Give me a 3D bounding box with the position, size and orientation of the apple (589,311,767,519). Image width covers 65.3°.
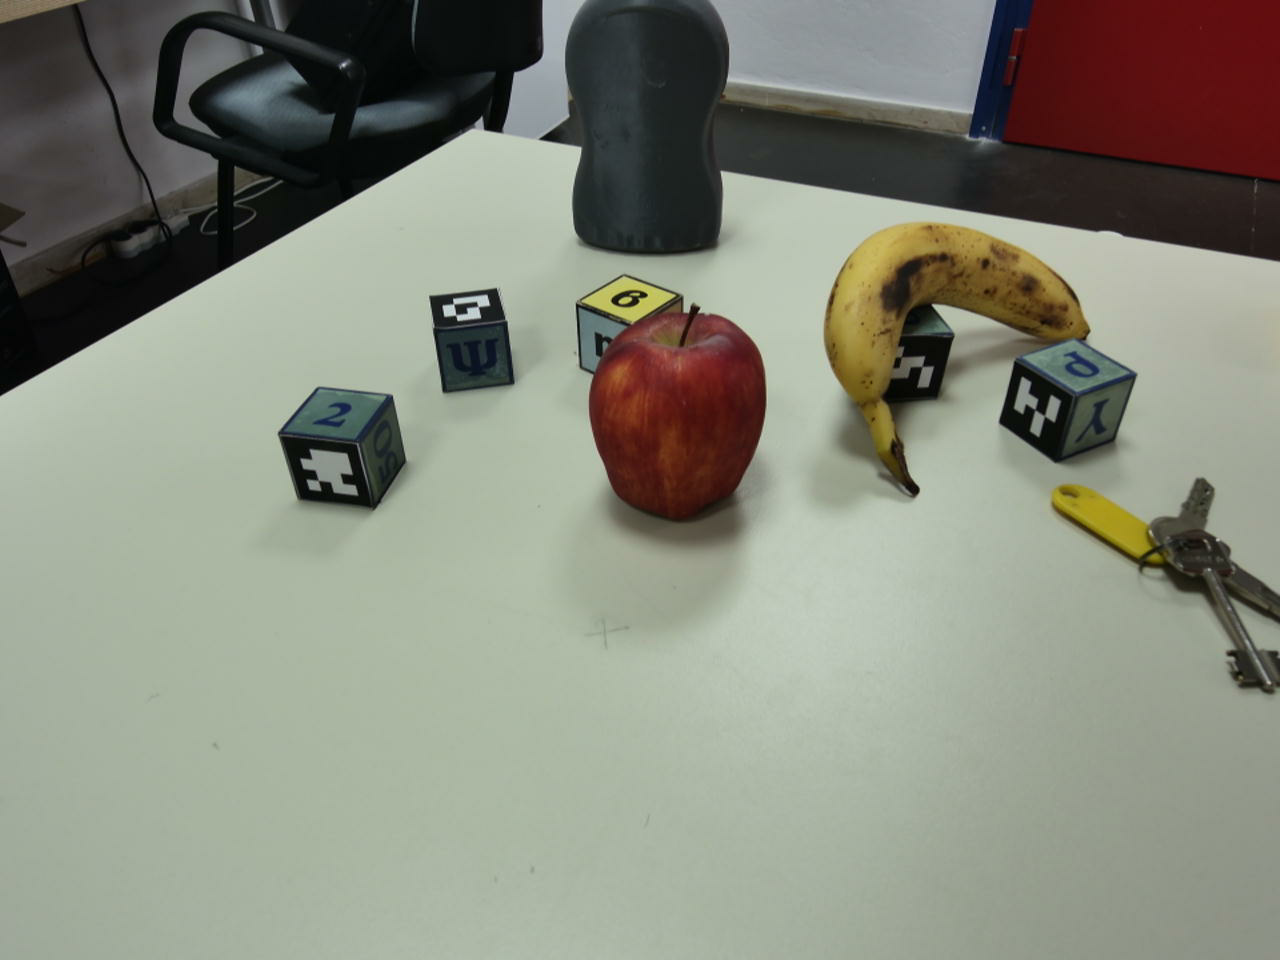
[{"bbox_3d":[0.017,-0.034,0.429,0.083,0.090,0.083,0,37,0],"label":"apple"}]
